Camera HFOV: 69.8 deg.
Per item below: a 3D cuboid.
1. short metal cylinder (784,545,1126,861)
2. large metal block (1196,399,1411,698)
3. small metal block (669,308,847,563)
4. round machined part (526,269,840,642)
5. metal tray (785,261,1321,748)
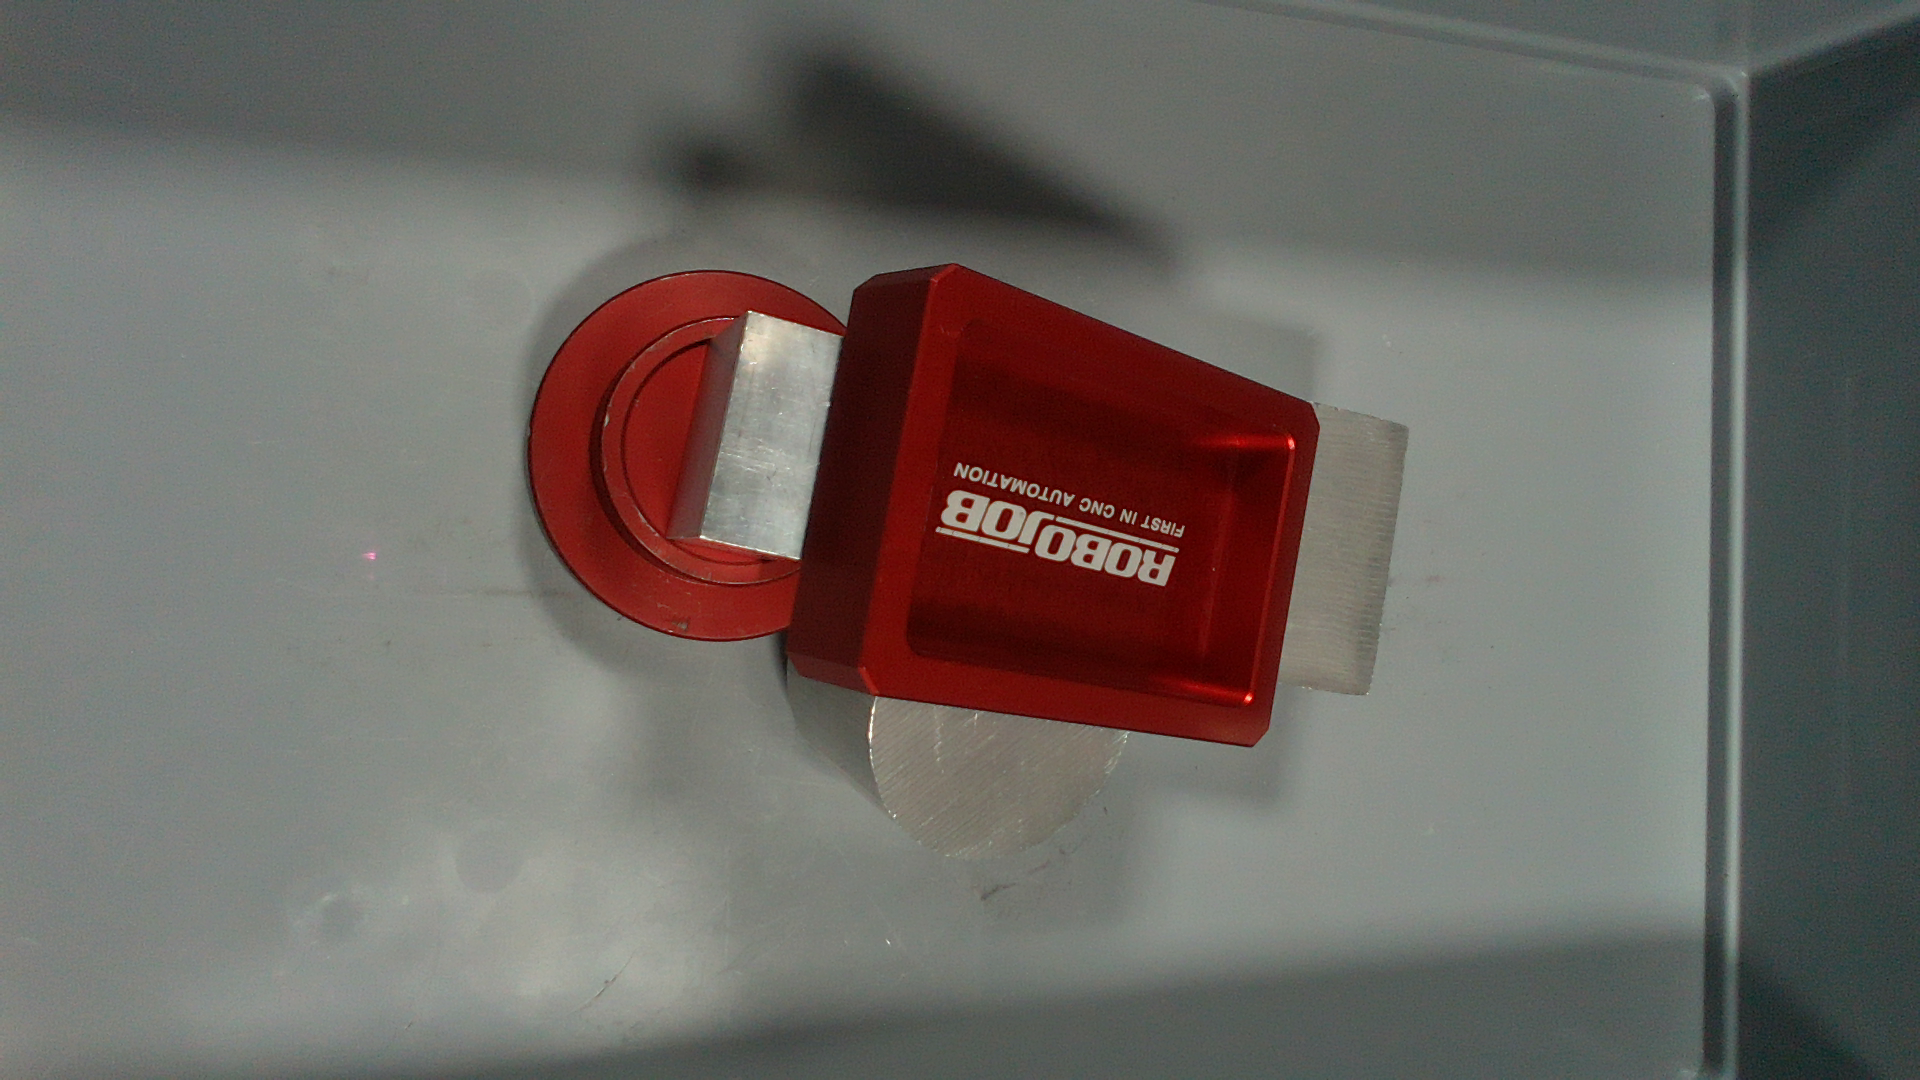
[{"bbox_3d":[0.000,0.038,0.367,0.080,0.050,0.080,-9,107,-30],"label":"short metal cylinder"},{"bbox_3d":[0.079,-0.001,0.406,0.080,0.050,0.080,10,87,-20],"label":"large metal block"},{"bbox_3d":[-0.047,-0.022,0.317,0.025,0.050,0.050,13,86,-19],"label":"small metal block"},{"bbox_3d":[-0.062,-0.022,0.360,0.098,0.042,0.098,0,90,-20],"label":"round machined part"},{"bbox_3d":[0.028,-0.003,0.325,0.131,0.030,0.090,13,86,-39],"label":"metal tray"}]
